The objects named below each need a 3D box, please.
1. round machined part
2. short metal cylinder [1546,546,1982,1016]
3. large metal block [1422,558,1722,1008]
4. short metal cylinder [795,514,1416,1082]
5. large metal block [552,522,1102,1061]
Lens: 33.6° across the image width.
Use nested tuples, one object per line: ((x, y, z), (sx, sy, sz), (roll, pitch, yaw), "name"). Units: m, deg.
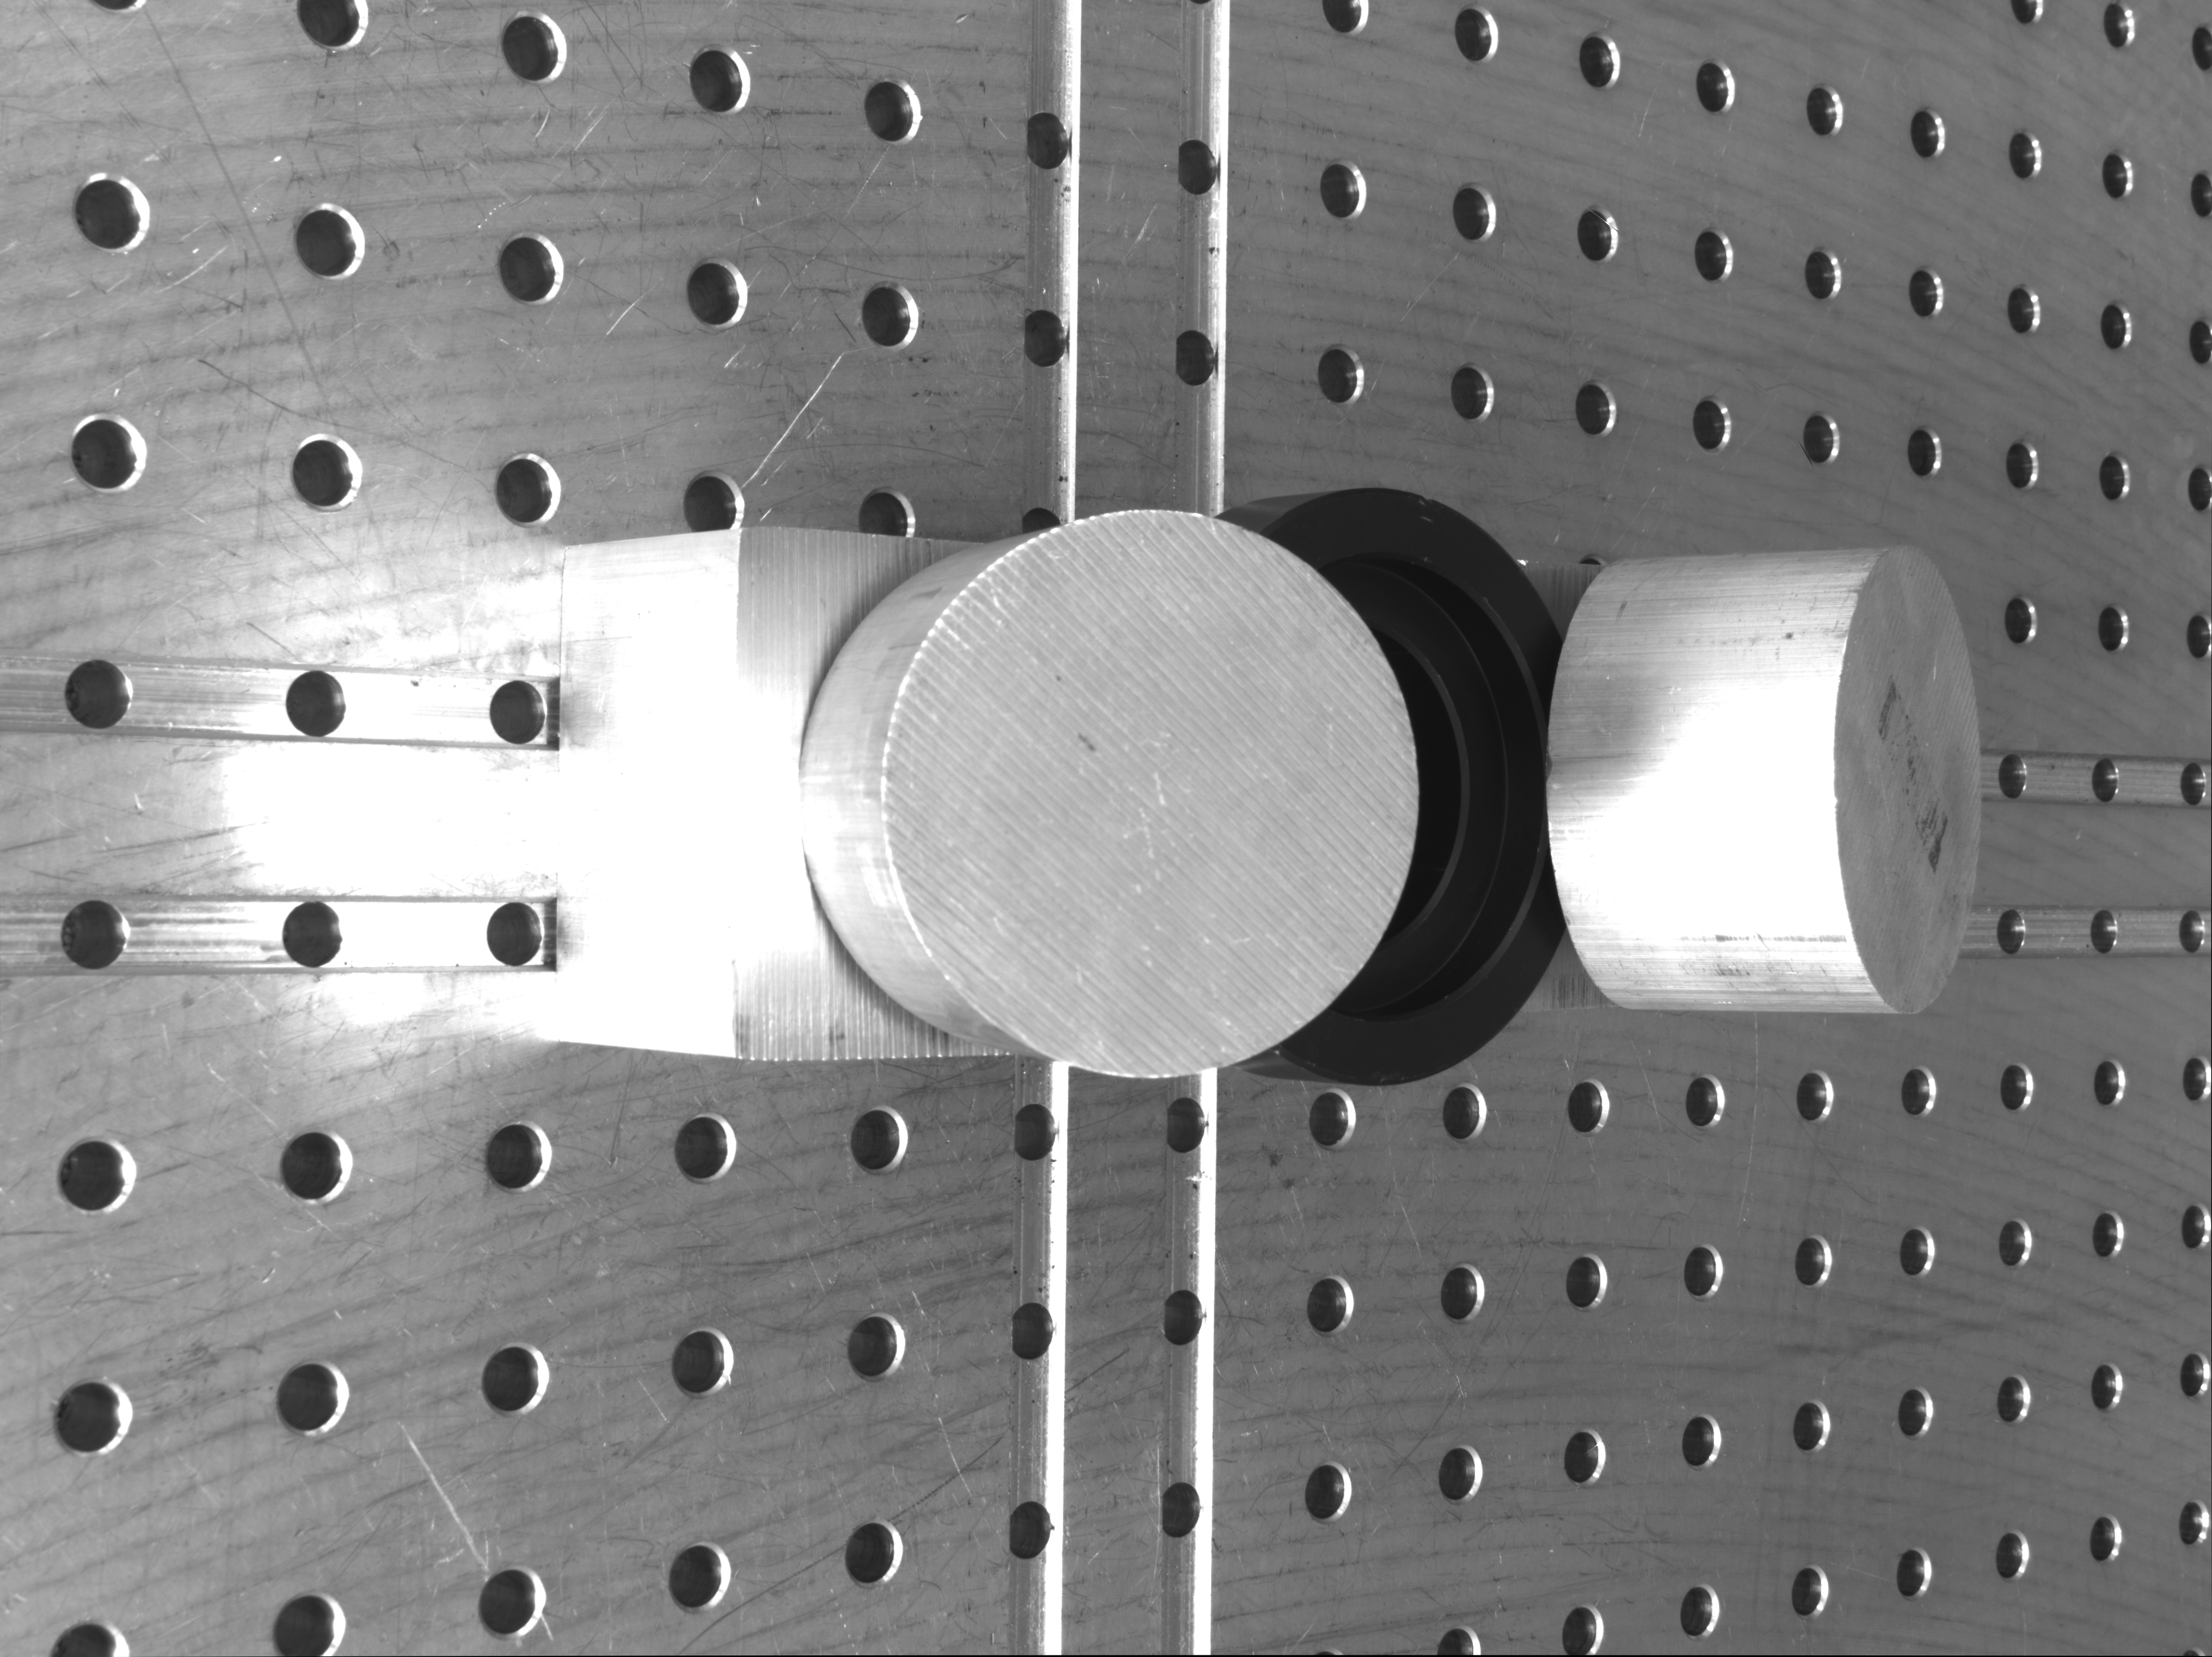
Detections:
((0.033, -0.007, 0.617), (0.098, 0.042, 0.098), (0, 90, -40), "round machined part")
((0.116, -0.008, 0.637), (0.080, 0.050, 0.080), (2, 88, -60), "short metal cylinder")
((0.075, -0.008, 0.684), (0.080, 0.050, 0.080), (-1, 91, -40), "large metal block")
((-0.001, -0.005, 0.540), (0.080, 0.050, 0.080), (0, 91, -18), "short metal cylinder")
((-0.041, -0.005, 0.589), (0.080, 0.050, 0.080), (1, 89, -40), "large metal block")
